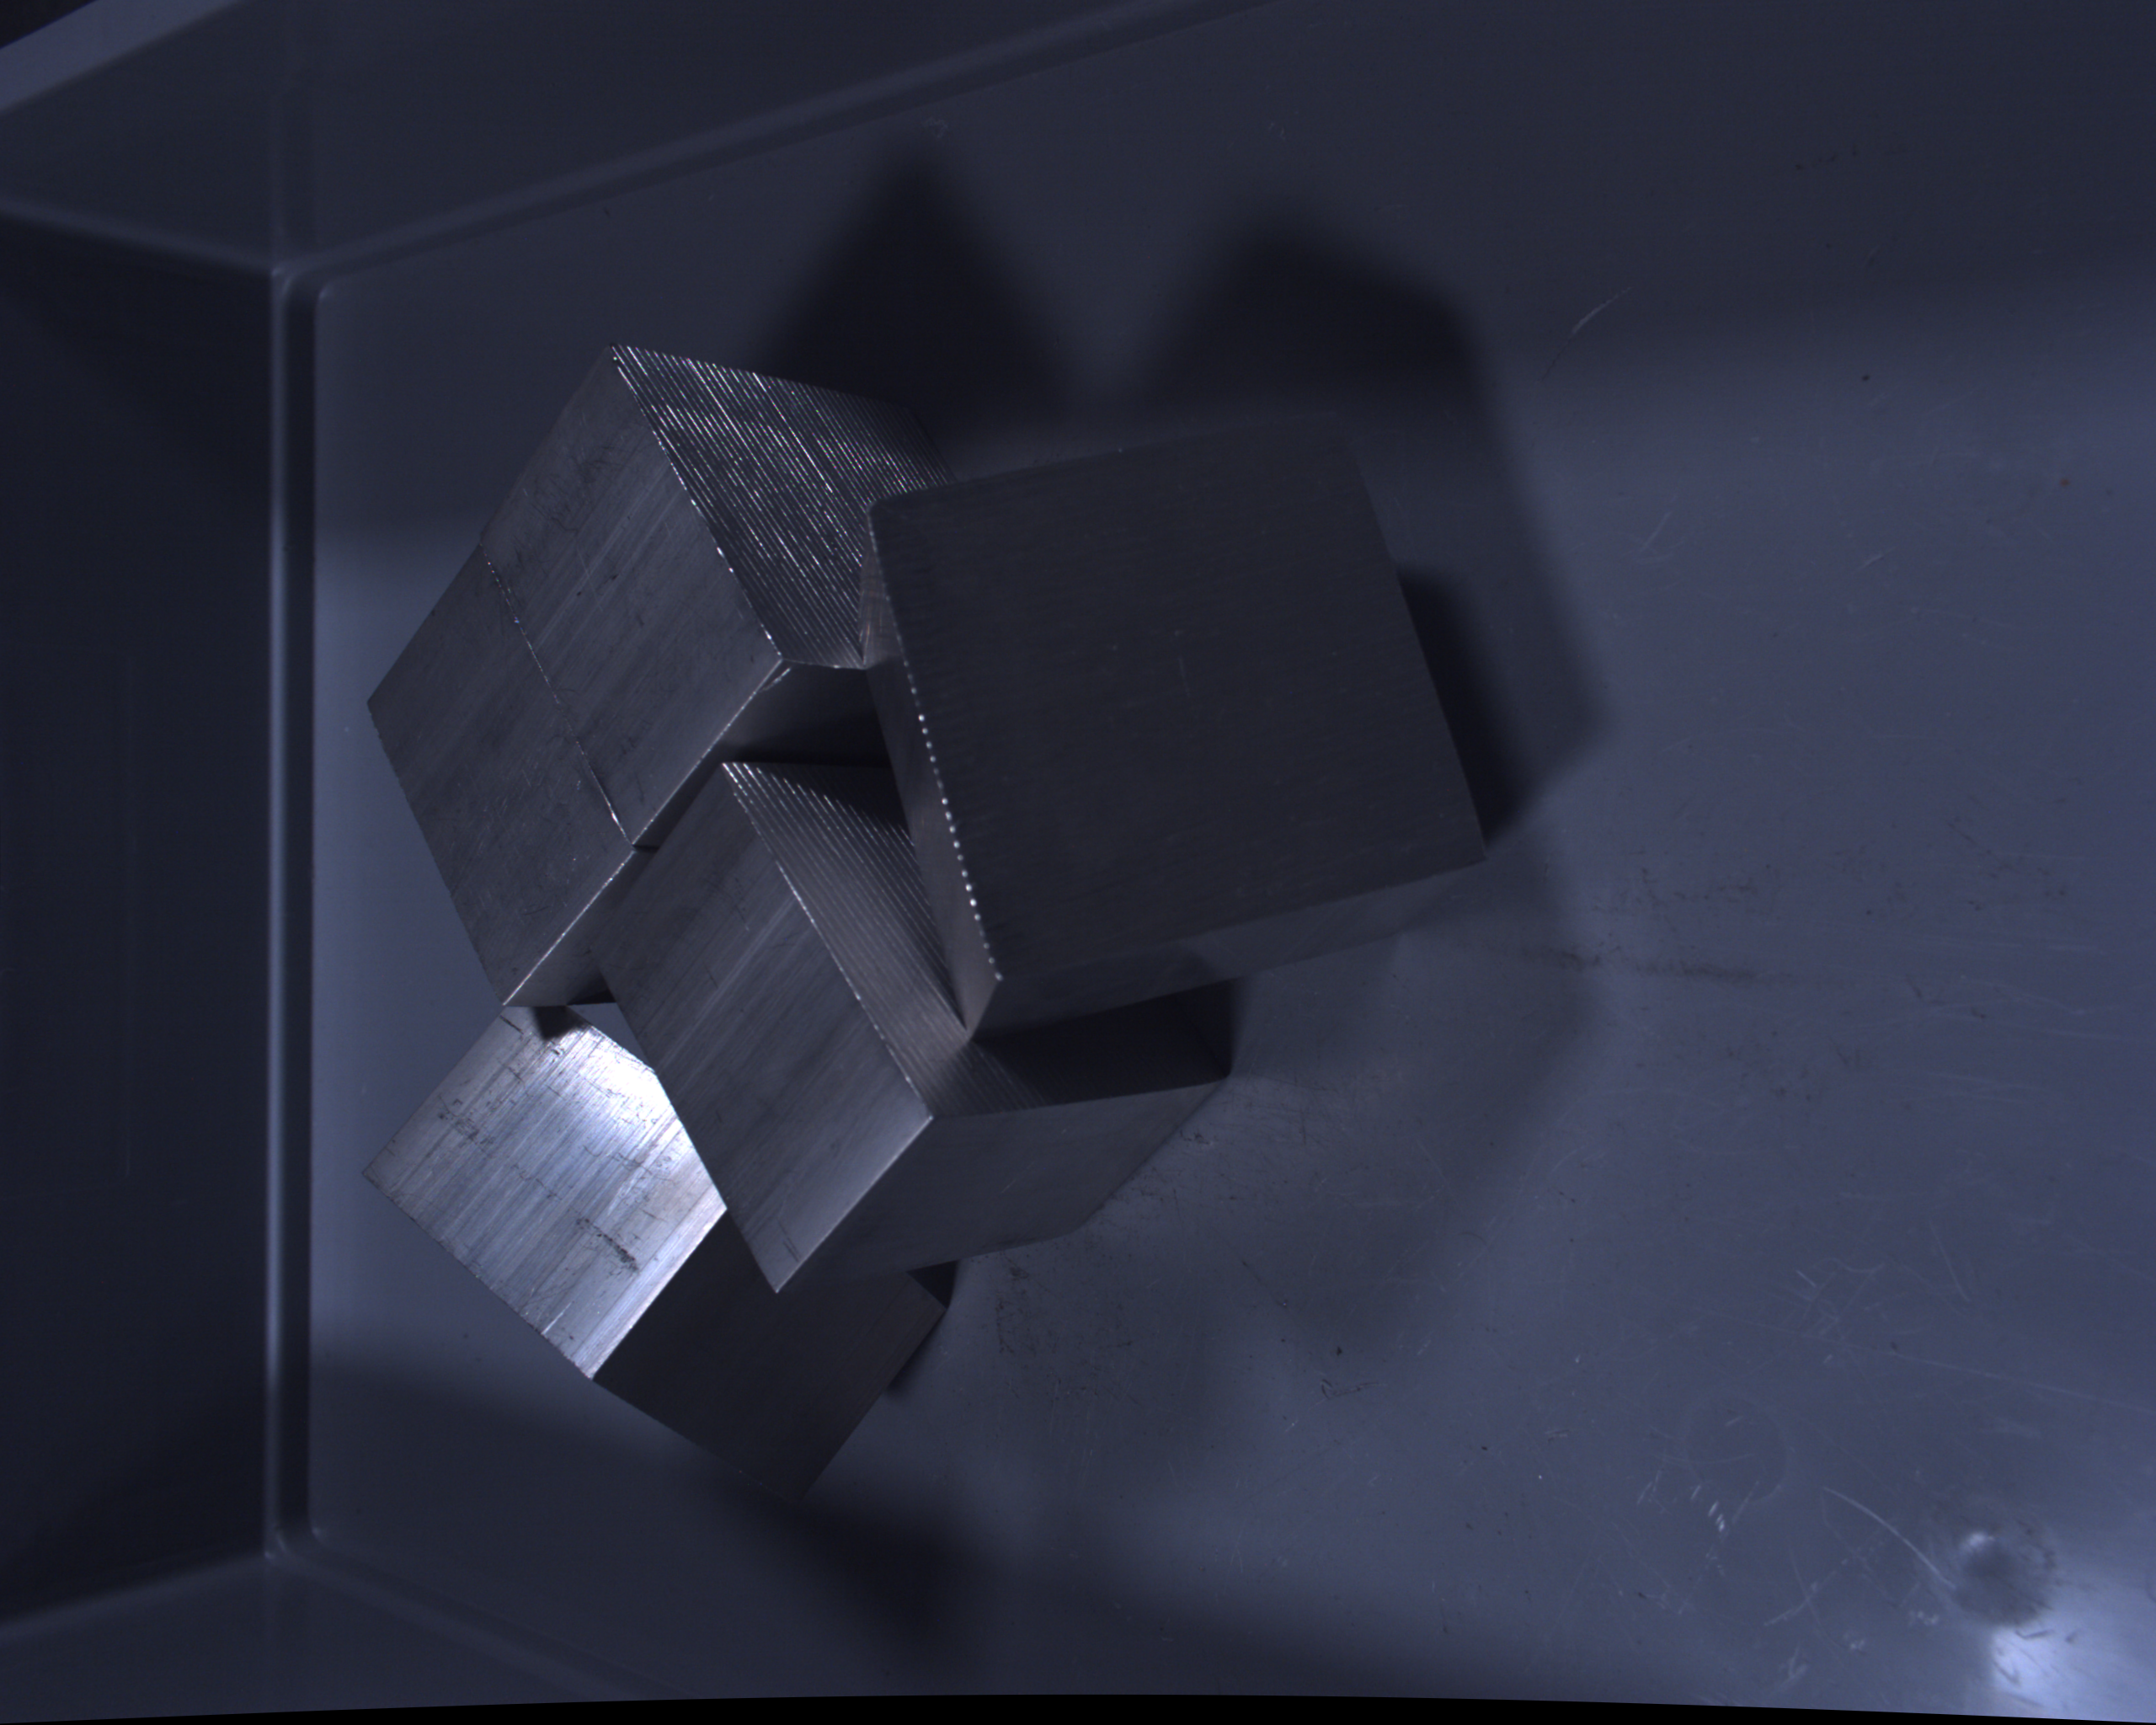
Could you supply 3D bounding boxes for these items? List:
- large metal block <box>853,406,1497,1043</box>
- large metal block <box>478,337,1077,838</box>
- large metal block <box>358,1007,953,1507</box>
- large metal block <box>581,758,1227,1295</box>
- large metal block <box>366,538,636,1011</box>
[{"bbox_3d":[0.013,-0.022,0.349,0.050,0.081,0.080,118,137,-72],"label":"large metal block"},{"bbox_3d":[-0.058,-0.051,0.415,0.050,0.081,0.080,-46,63,30],"label":"large metal block"},{"bbox_3d":[-0.085,0.078,0.428,0.080,0.080,0.050,28,73,36],"label":"large metal block"},{"bbox_3d":[-0.033,0.028,0.393,0.050,0.081,0.080,-49,61,29],"label":"large metal block"},{"bbox_3d":[-0.090,-0.018,0.441,0.050,0.081,0.080,-45,63,30],"label":"large metal block"}]
